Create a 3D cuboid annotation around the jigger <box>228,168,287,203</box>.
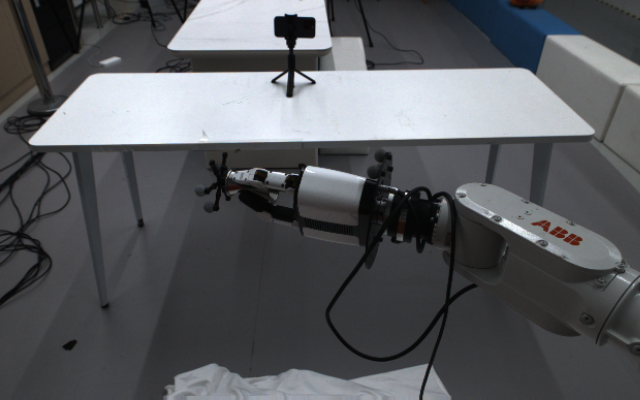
[{"bbox_3d":[-0.091,-0.025,0.694,0.071,0.043,0.043,8,35,15],"label":"jigger"}]
